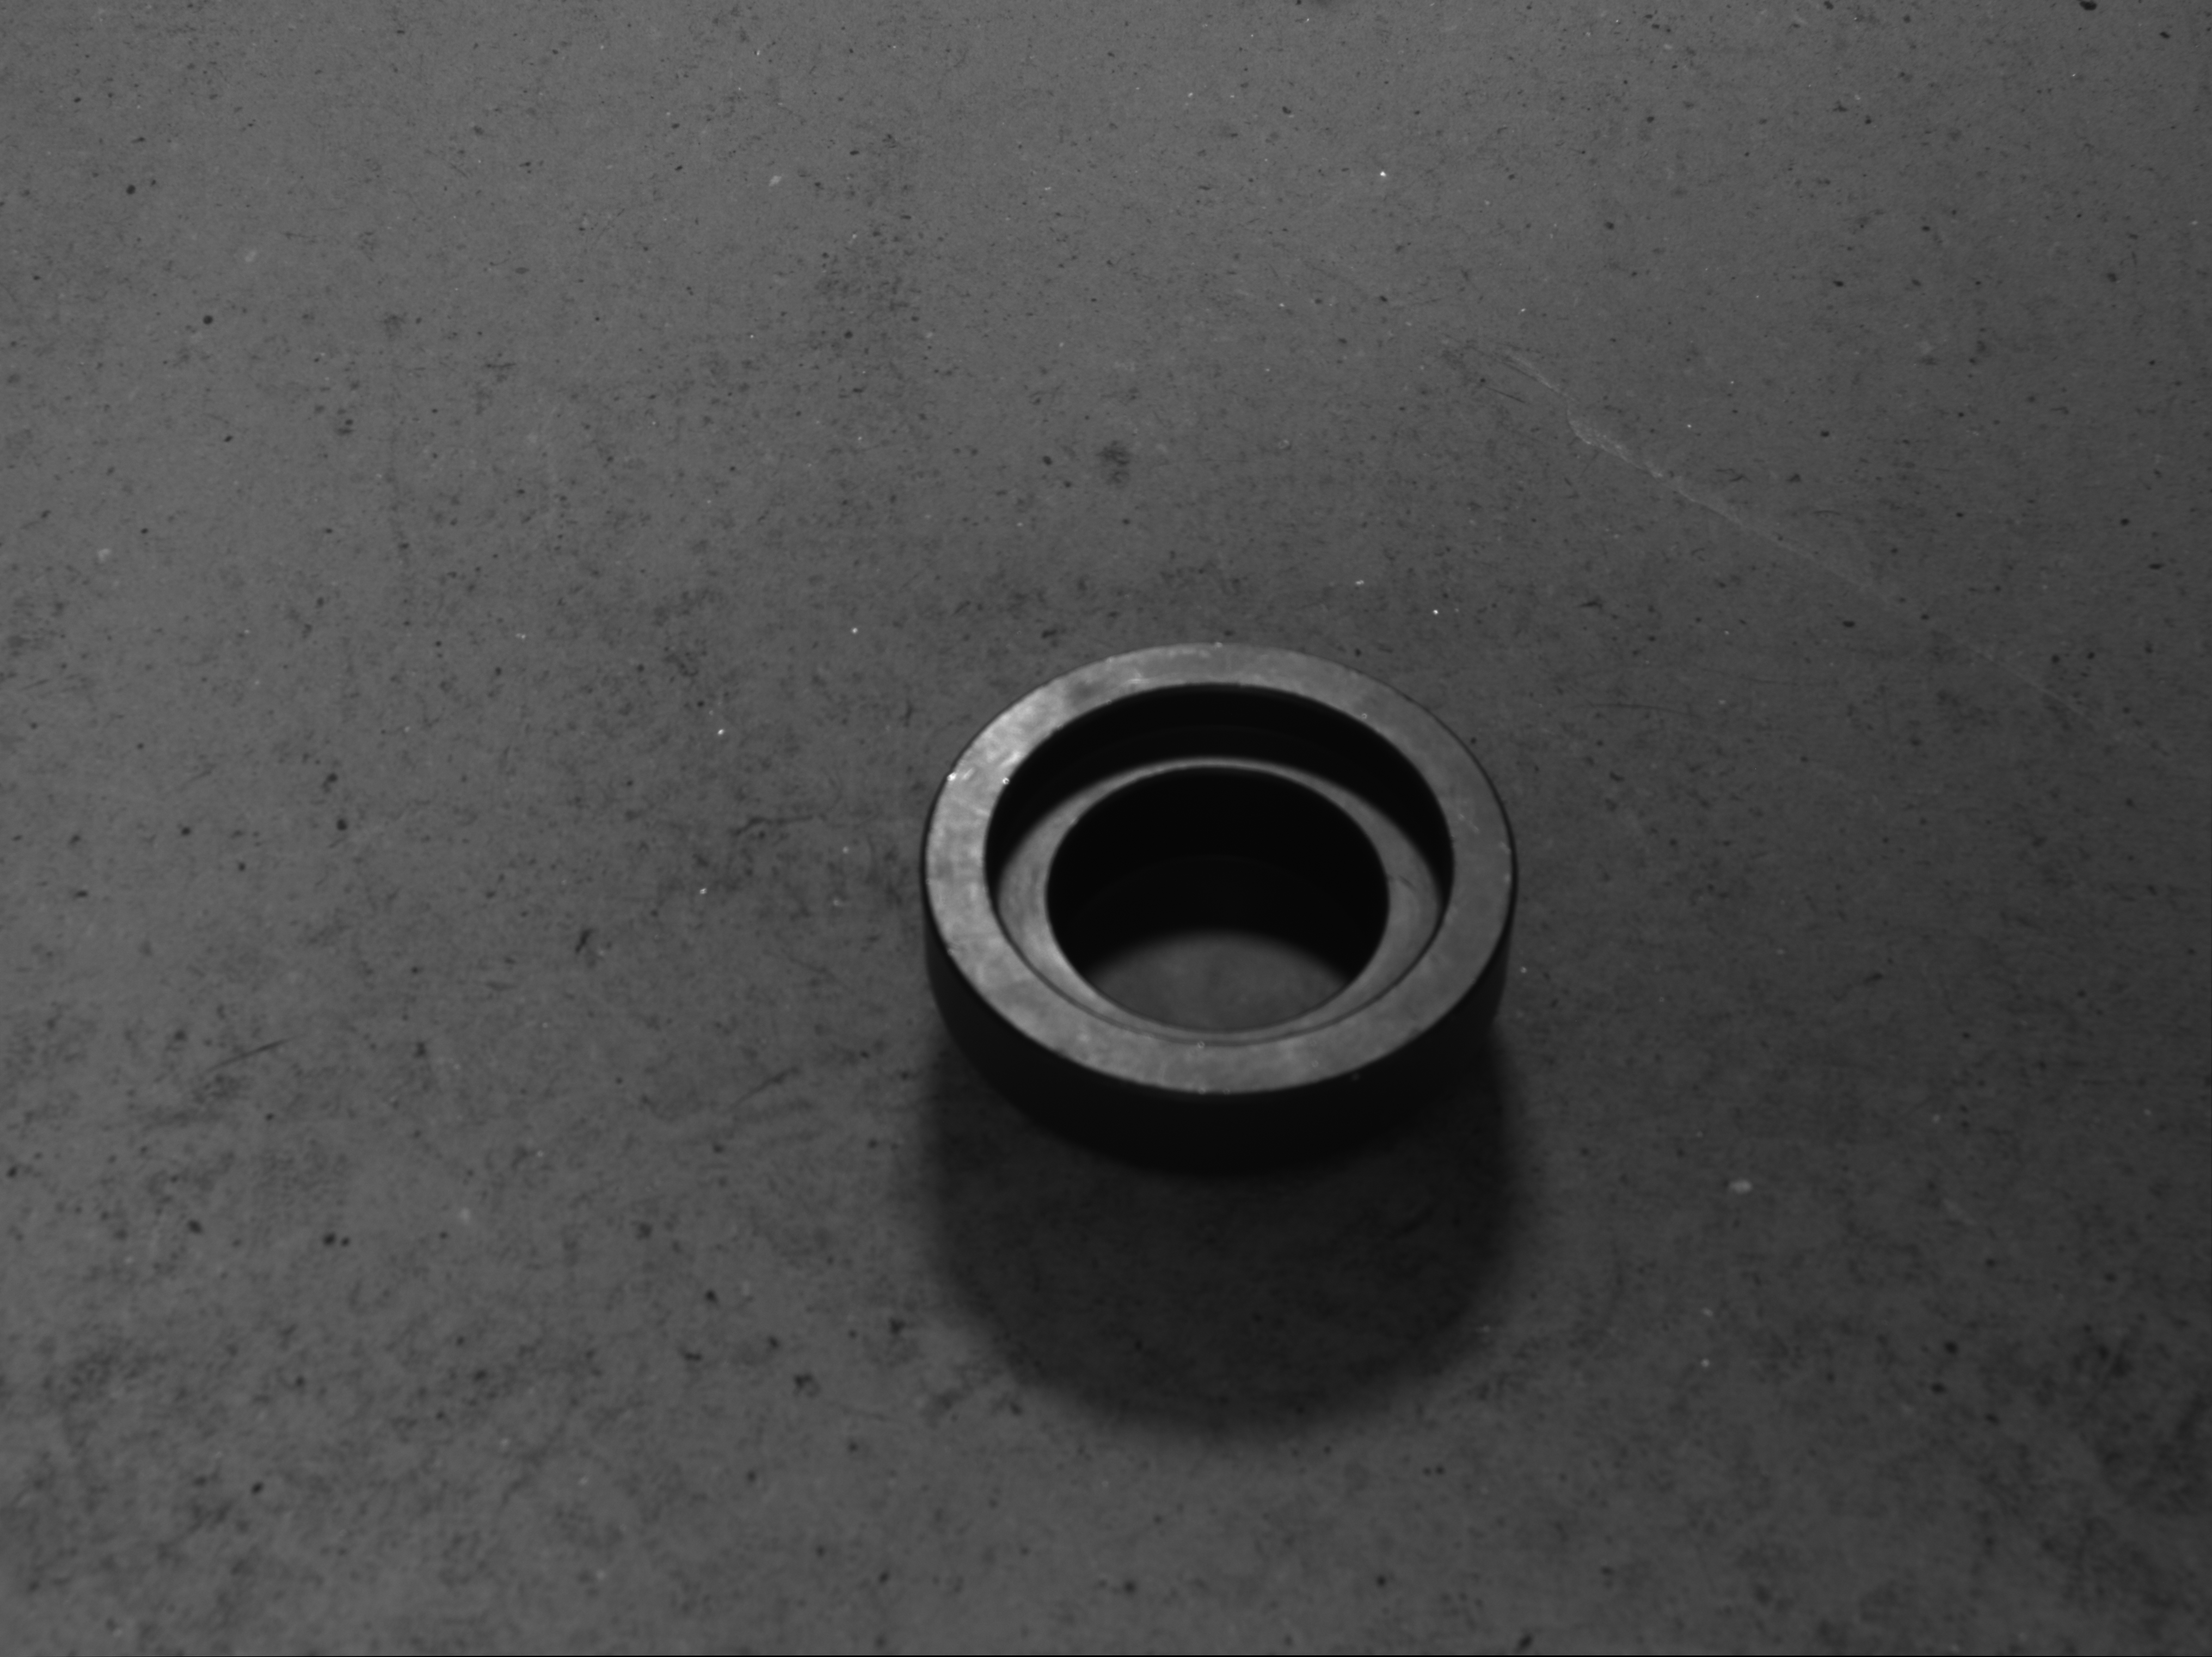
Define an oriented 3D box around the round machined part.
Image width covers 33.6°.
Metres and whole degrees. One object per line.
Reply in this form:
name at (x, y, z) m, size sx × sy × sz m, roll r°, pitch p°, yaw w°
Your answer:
round machined part at (0.021, 0.018, 0.616) m, size 0.098 × 0.042 × 0.098 m, roll 0°, pitch 50°, yaw 0°
